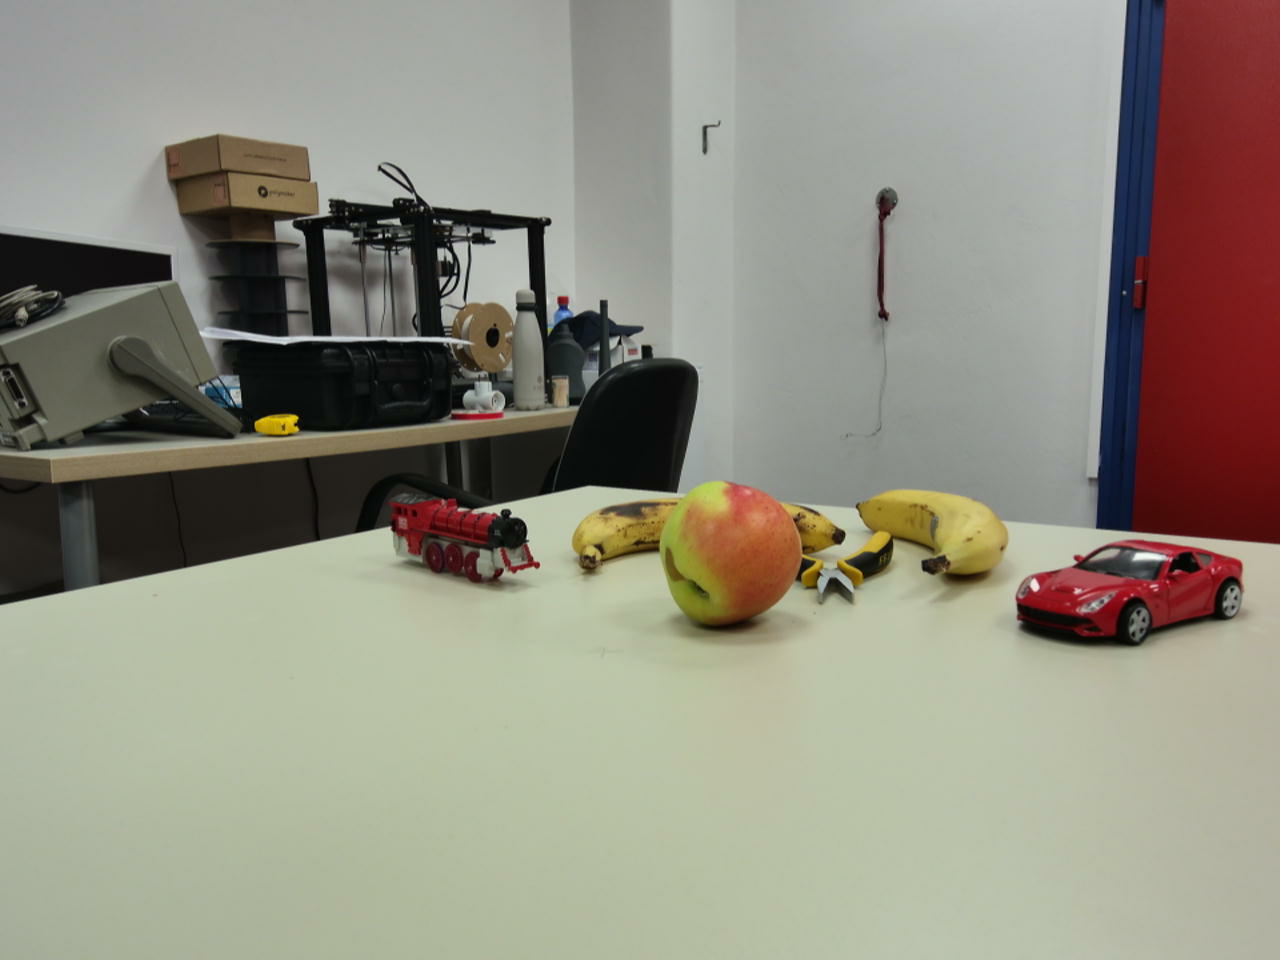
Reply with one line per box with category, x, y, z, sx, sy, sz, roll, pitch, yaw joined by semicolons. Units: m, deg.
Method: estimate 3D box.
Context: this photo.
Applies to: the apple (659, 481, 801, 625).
apple;0.046;0.039;0.534;0.075;0.074;0.075;0;6;16
